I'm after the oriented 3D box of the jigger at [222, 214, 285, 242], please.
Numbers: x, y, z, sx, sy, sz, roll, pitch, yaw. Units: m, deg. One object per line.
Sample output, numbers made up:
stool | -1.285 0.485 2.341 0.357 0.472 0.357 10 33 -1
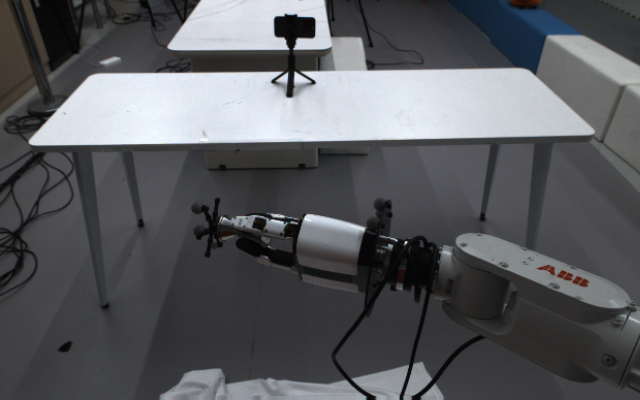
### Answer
jigger | -0.101 0.039 0.700 0.071 0.043 0.043 3 34 14
